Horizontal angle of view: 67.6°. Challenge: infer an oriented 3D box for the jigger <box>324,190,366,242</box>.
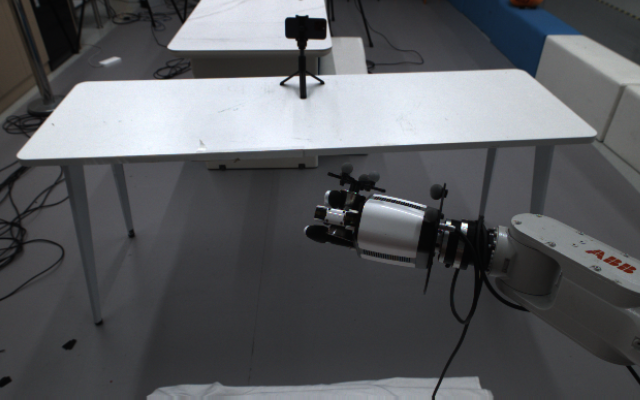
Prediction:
[{"bbox_3d":[0.039,0.022,0.707,0.043,0.071,0.043,19,-6,2],"label":"jigger"}]
